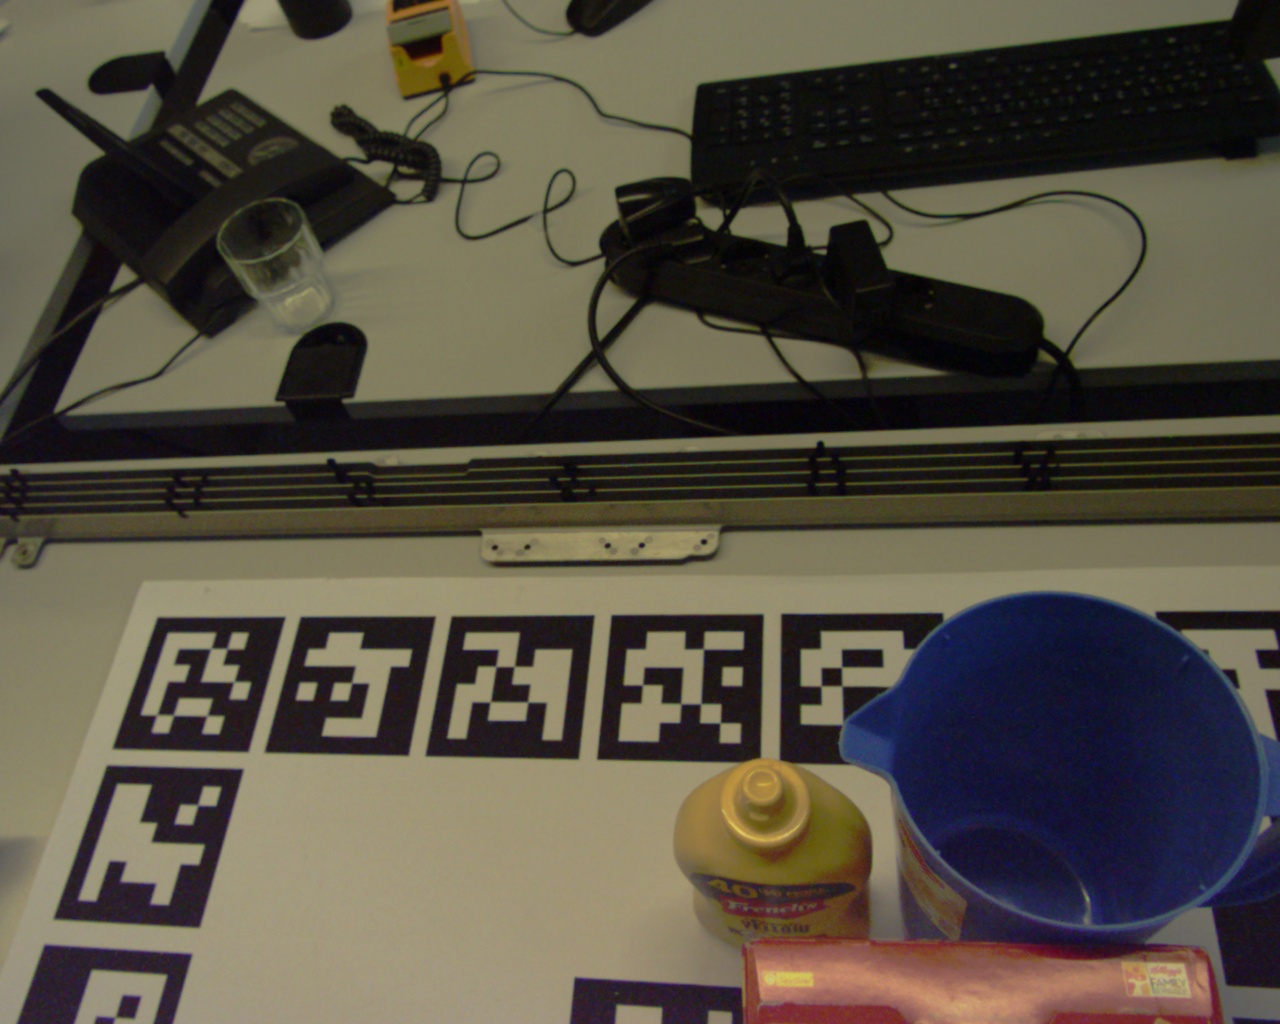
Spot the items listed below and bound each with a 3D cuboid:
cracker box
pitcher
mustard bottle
[{"bbox_3d":[0.137,0.244,0.501,0.165,0.212,0.072,-5,55,12],"label":"cracker box"},{"bbox_3d":[0.189,0.153,0.542,0.190,0.240,0.133,2,58,16],"label":"pitcher"},{"bbox_3d":[0.060,0.164,0.578,0.097,0.190,0.058,10,61,18],"label":"mustard bottle"}]
